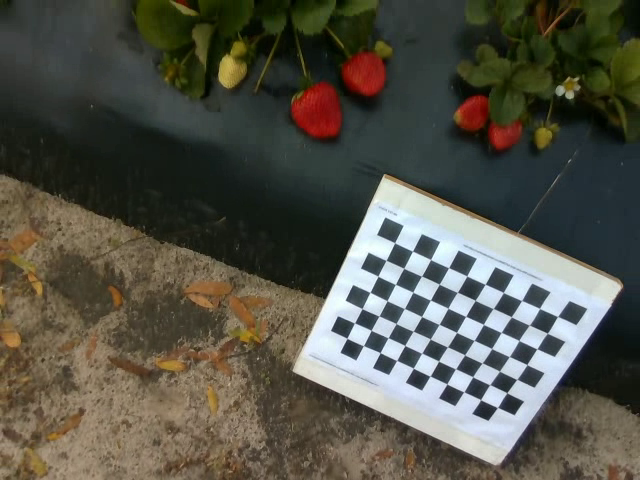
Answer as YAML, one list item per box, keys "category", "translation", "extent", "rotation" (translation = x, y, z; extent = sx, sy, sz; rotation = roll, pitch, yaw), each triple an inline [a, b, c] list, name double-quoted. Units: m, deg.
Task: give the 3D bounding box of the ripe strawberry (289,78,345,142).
- category: "ripe strawberry"
  translation: [-0.002, -0.135, 0.667]
  extent: [0.058, 0.065, 0.043]
  rotation: [-34, -5, 26]

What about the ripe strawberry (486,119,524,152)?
- category: "ripe strawberry"
  translation: [0.202, -0.108, 0.655]
  extent: [0.043, 0.049, 0.041]
  rotation: [20, -39, 3]

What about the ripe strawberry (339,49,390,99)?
- category: "ripe strawberry"
  translation: [0.050, -0.176, 0.670]
  extent: [0.050, 0.060, 0.051]
  rotation: [-40, -39, 27]

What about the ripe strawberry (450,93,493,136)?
- category: "ripe strawberry"
  translation: [0.166, -0.133, 0.665]
  extent: [0.053, 0.047, 0.039]
  rotation: [-10, 29, -20]
